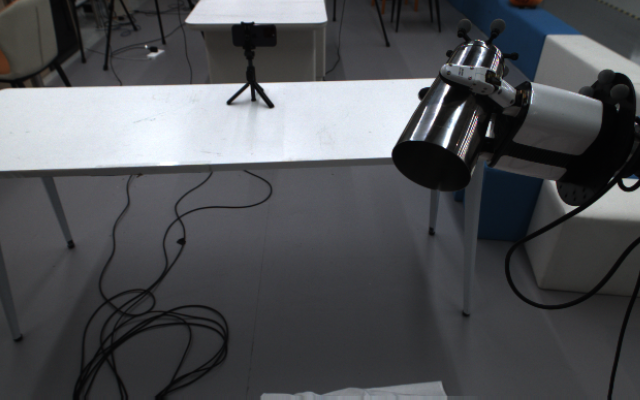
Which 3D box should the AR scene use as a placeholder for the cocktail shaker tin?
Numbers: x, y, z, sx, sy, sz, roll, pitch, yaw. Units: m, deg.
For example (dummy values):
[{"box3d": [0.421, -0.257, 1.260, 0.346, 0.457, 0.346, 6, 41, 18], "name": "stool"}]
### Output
[{"box3d": [0.163, -0.108, 0.568, 0.093, 0.093, 0.170, 18, 66, 21], "name": "cocktail shaker tin"}]
